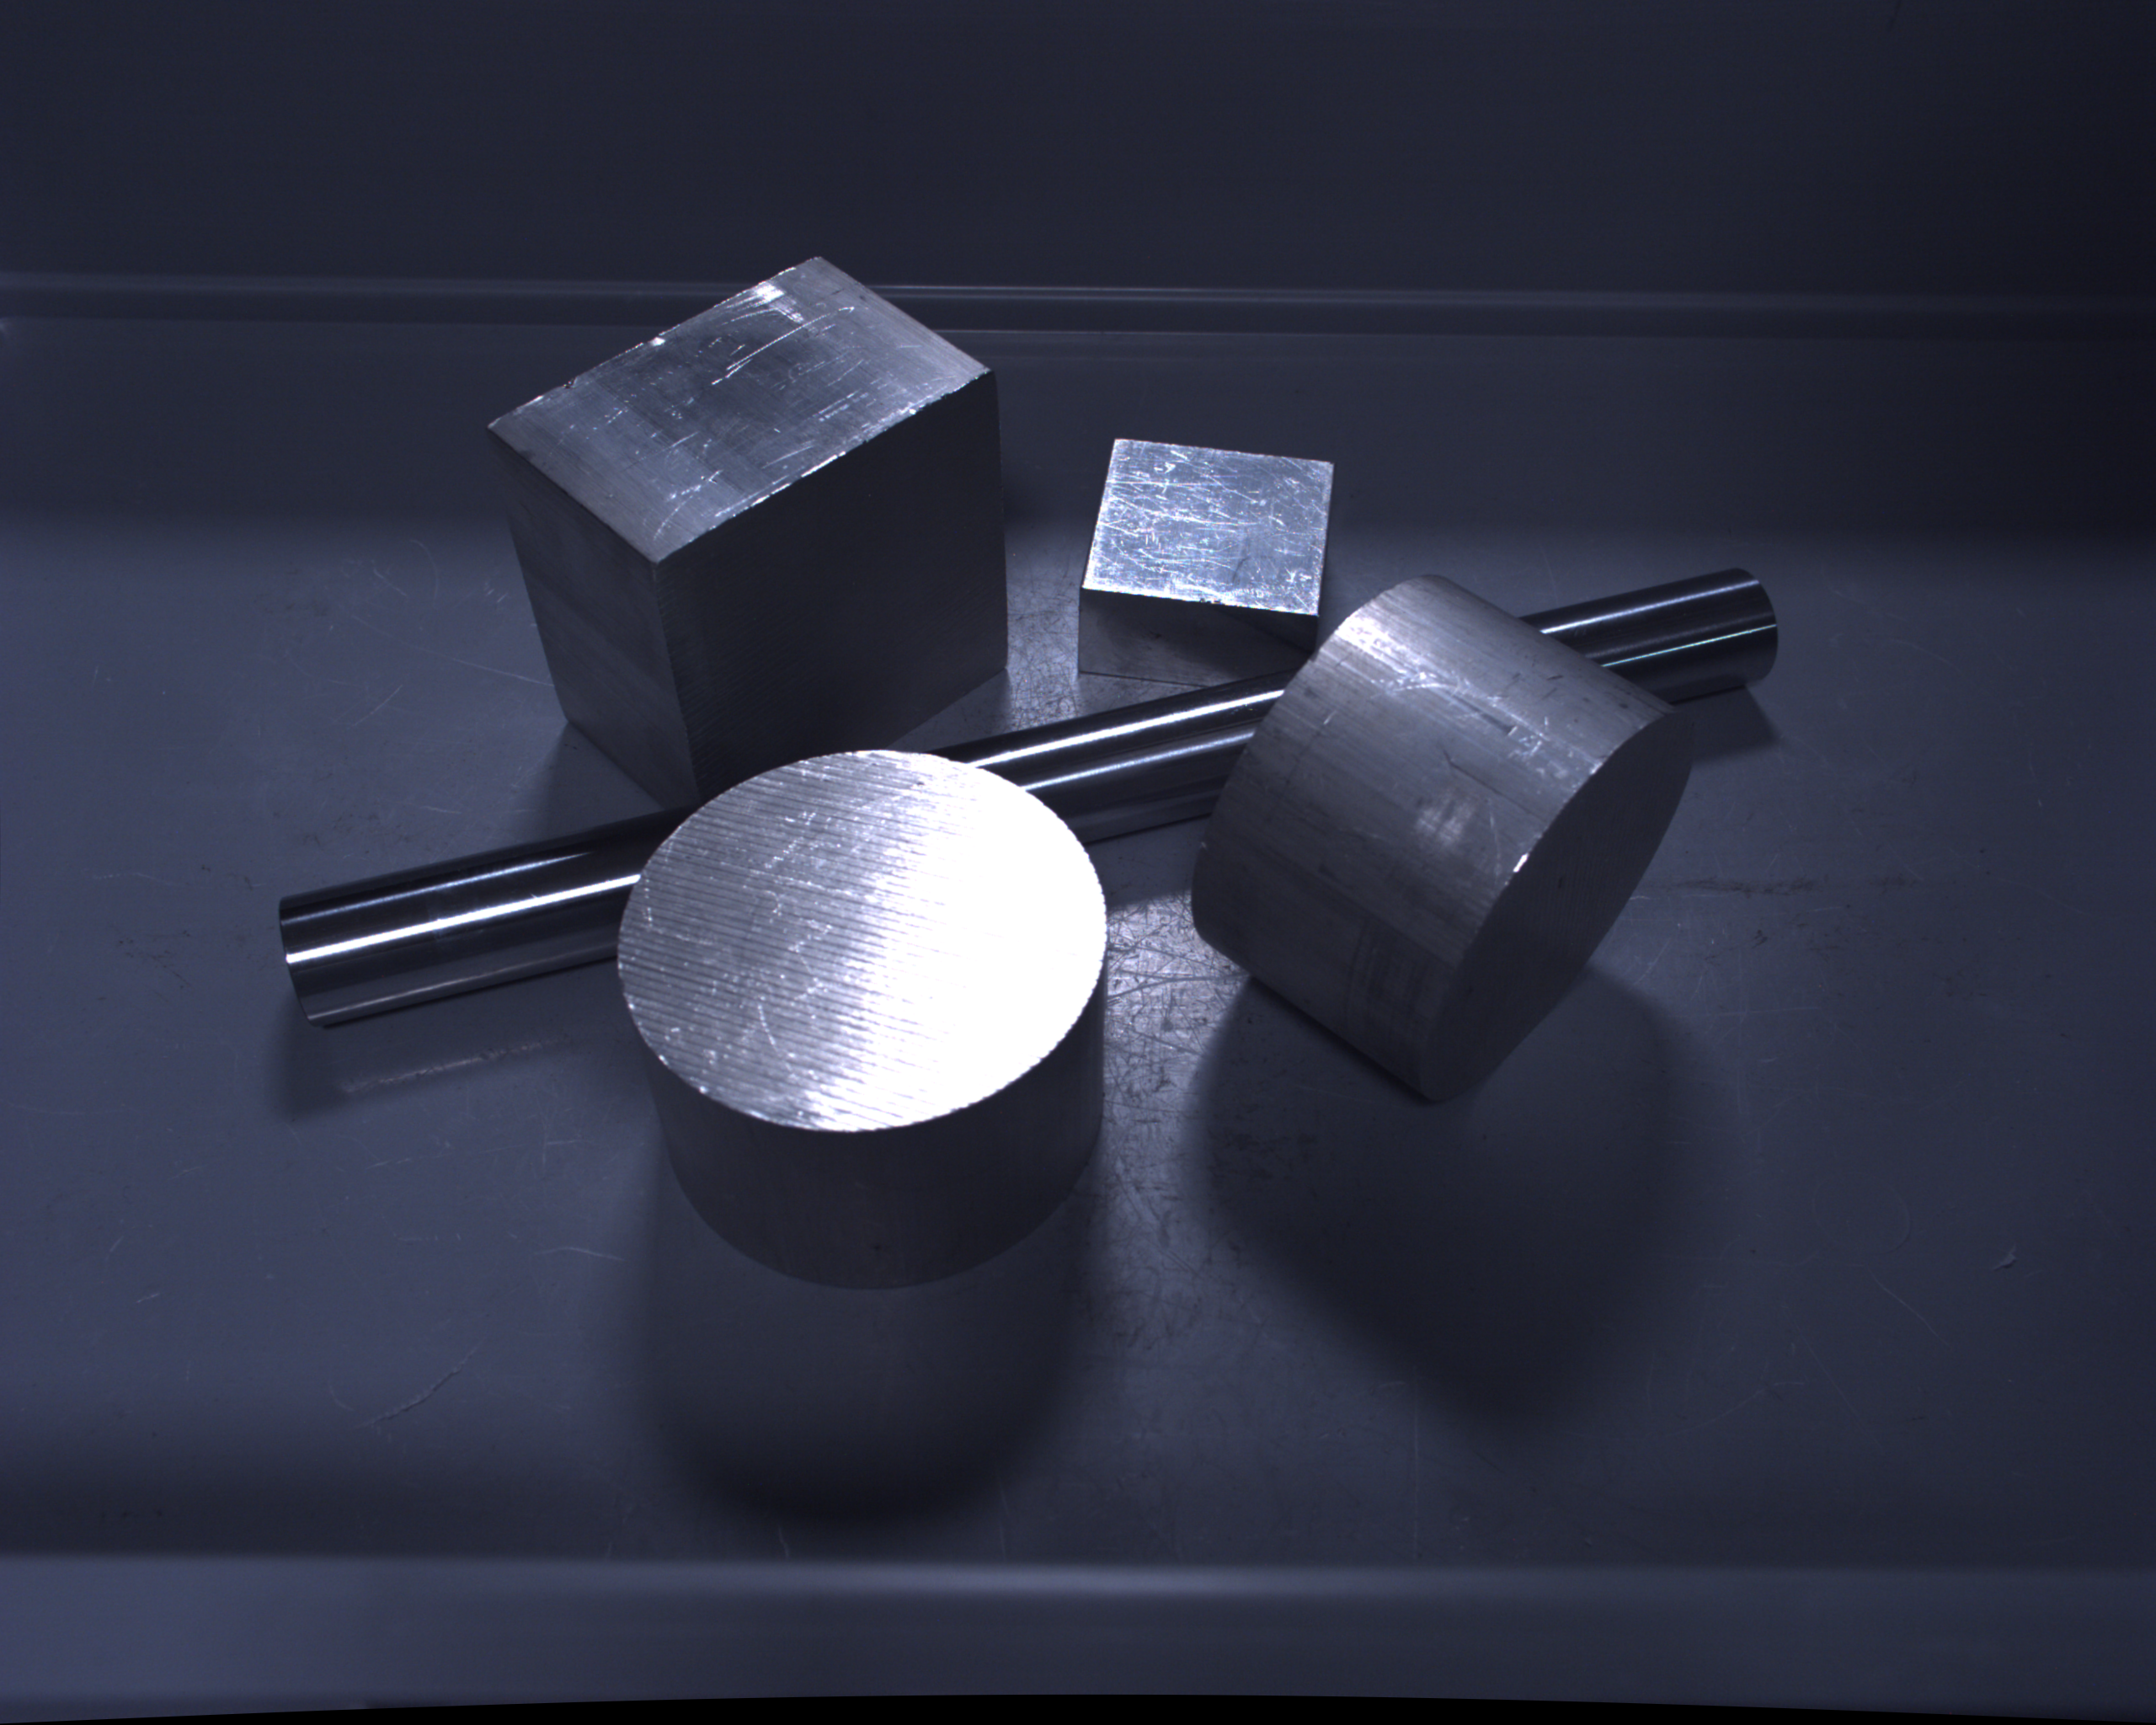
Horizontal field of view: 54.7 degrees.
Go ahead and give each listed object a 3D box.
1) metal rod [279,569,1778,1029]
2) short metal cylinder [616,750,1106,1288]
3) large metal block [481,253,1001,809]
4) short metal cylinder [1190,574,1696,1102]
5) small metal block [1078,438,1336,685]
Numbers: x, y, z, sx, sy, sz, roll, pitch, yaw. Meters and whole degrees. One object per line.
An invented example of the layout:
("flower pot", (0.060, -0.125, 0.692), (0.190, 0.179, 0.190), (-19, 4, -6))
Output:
("metal rod", (0.000, -0.016, 0.417), (0.302, 0.025, 0.025), (-14, 52, -12))
("short metal cylinder", (-0.036, 0.026, 0.364), (0.081, 0.050, 0.080), (0, 50, 0))
("large metal block", (-0.063, -0.062, 0.420), (0.080, 0.080, 0.050), (-36, 59, -26))
("short metal cylinder", (0.065, -0.004, 0.372), (0.050, 0.080, 0.080), (35, 58, 25))
("small metal block", (0.029, -0.065, 0.458), (0.050, 0.025, 0.050), (7, 50, 5))
